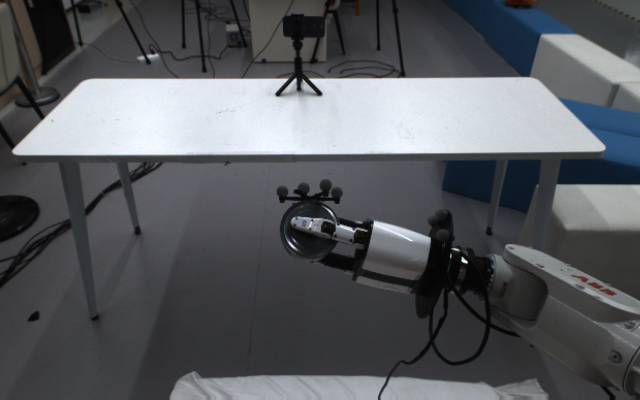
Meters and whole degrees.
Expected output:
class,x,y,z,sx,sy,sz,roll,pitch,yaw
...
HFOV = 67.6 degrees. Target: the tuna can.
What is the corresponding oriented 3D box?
class,x,y,z,sx,sy,sz,roll,pitch,yaw
tuna can,-0.013,0.048,0.685,0.085,0.034,0.085,1,70,-4
